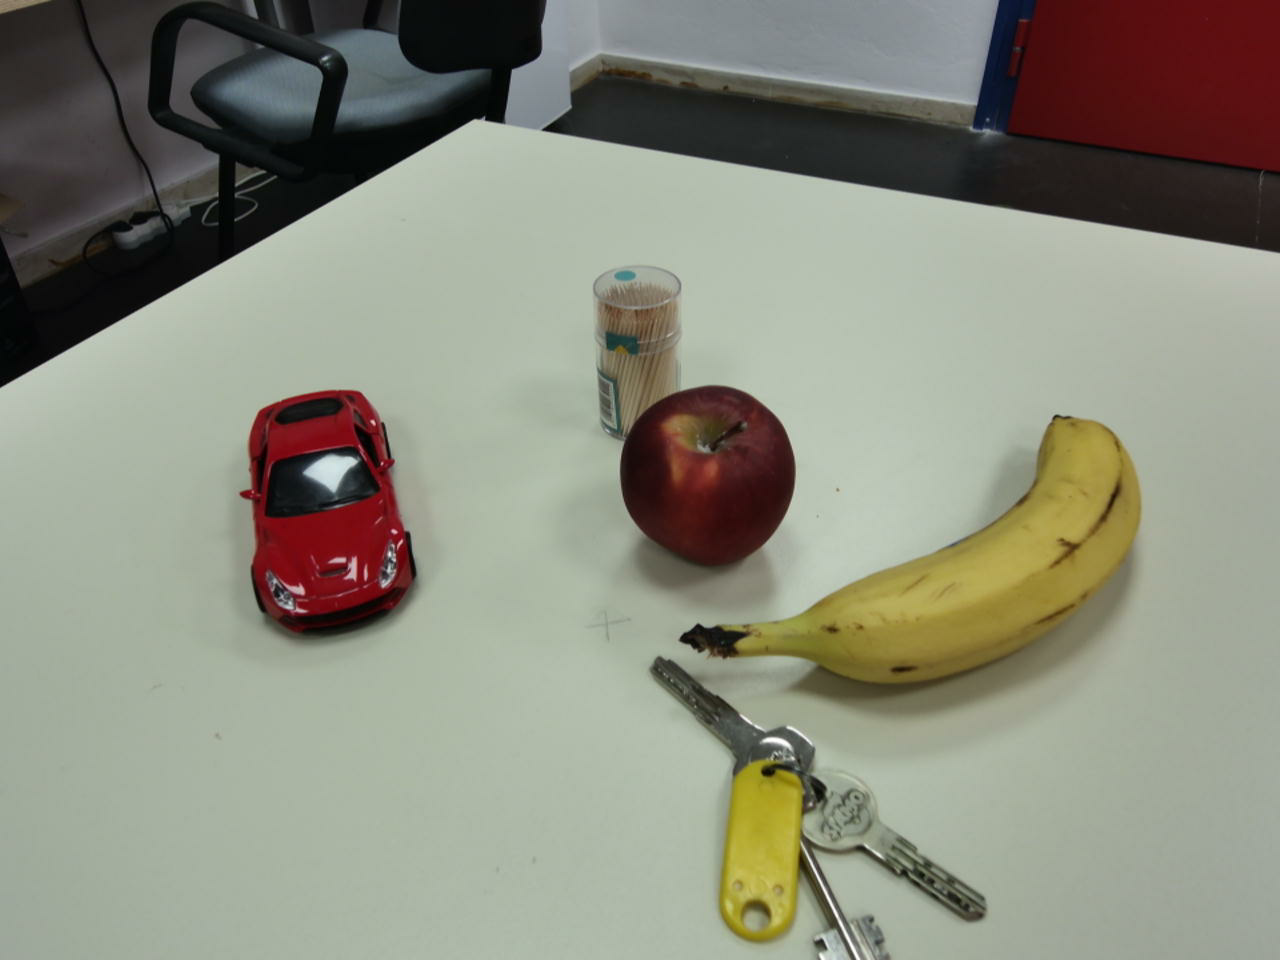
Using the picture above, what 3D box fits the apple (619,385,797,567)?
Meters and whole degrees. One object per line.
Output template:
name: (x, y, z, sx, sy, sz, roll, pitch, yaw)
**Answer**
apple: (0.027, -0.001, 0.393, 0.070, 0.072, 0.070, 1, 37, -1)
